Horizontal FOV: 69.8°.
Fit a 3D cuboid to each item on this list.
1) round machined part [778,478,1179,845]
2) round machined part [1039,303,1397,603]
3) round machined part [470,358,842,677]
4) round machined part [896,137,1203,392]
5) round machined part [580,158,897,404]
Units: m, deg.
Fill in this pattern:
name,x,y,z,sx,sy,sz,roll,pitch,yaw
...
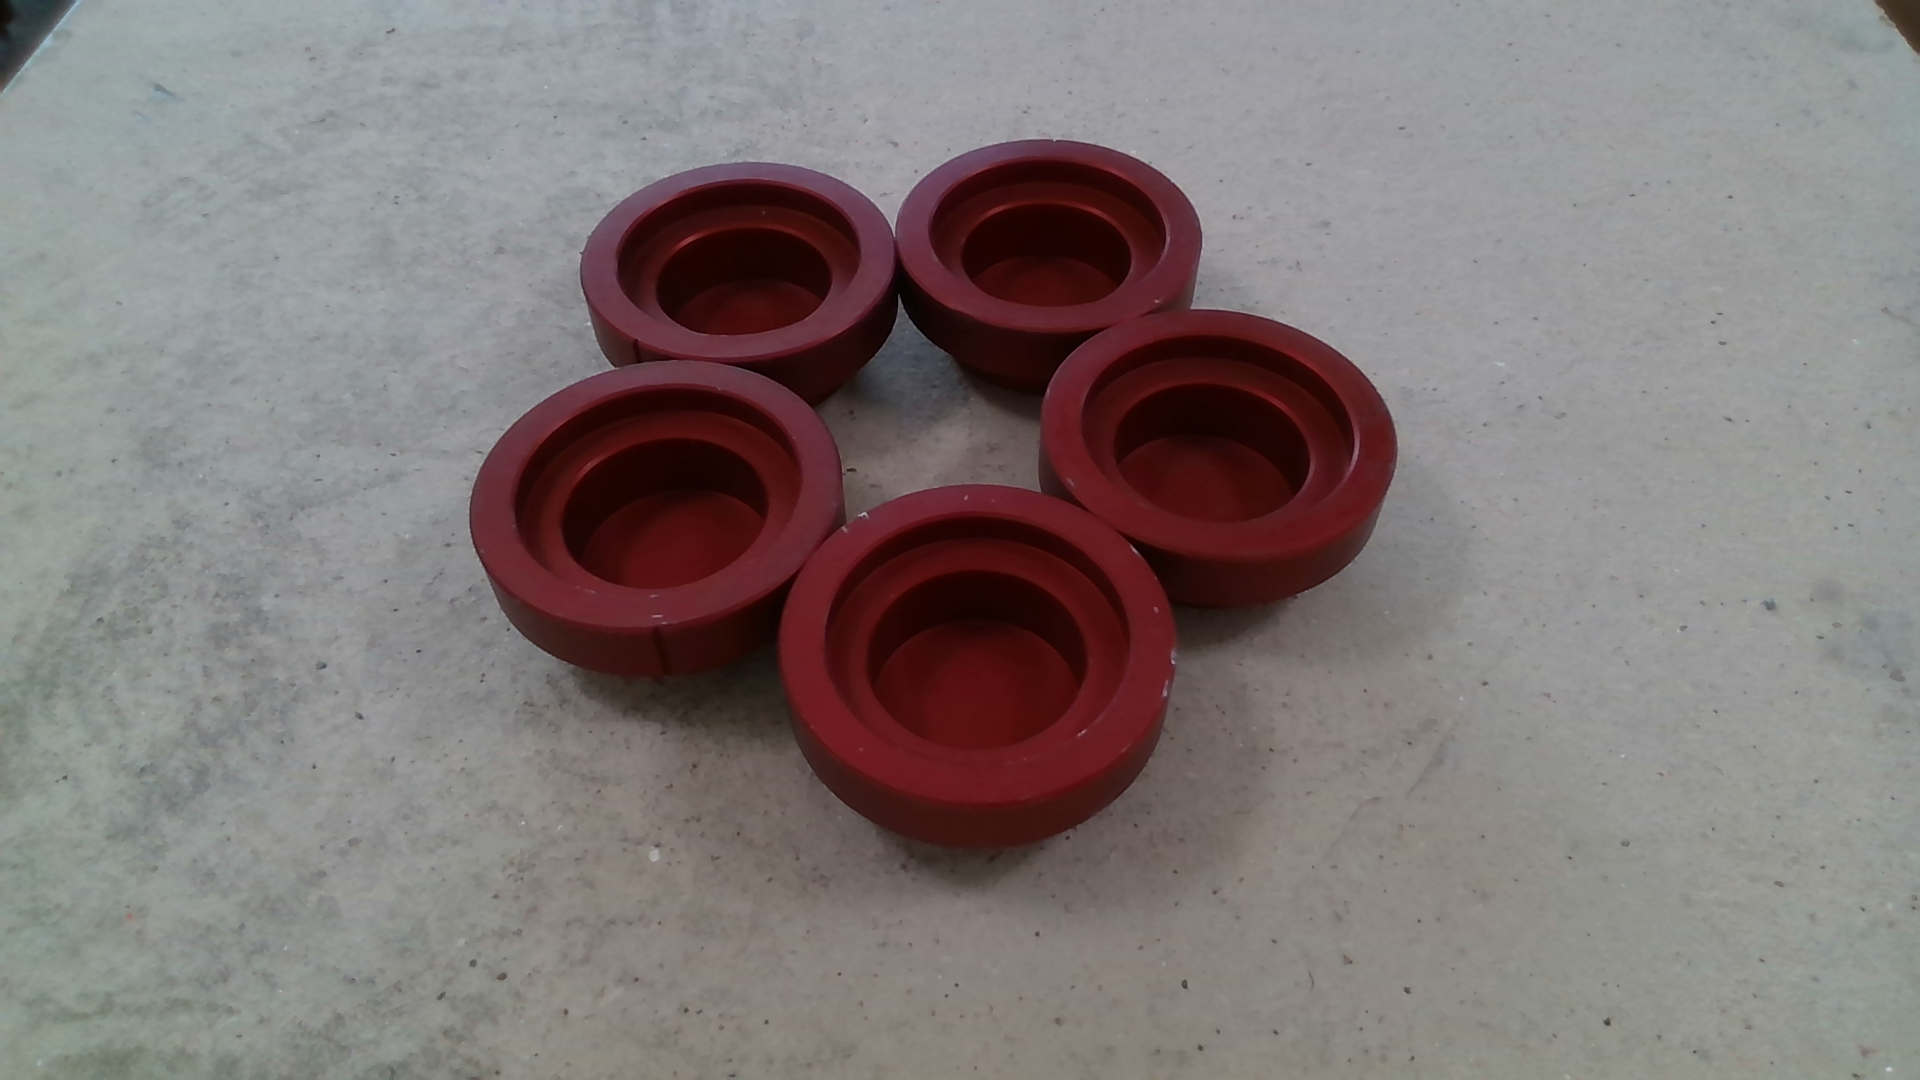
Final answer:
name,x,y,z,sx,sy,sz,roll,pitch,yaw
round machined part,0.004,0.034,0.353,0.098,0.042,0.098,1,51,-1
round machined part,0.072,-0.021,0.399,0.098,0.042,0.098,1,51,-1
round machined part,-0.081,-0.002,0.385,0.098,0.042,0.098,0,51,0
round machined part,0.028,-0.087,0.455,0.098,0.042,0.098,1,50,-1
round machined part,-0.069,-0.077,0.447,0.098,0.042,0.098,1,51,-1
